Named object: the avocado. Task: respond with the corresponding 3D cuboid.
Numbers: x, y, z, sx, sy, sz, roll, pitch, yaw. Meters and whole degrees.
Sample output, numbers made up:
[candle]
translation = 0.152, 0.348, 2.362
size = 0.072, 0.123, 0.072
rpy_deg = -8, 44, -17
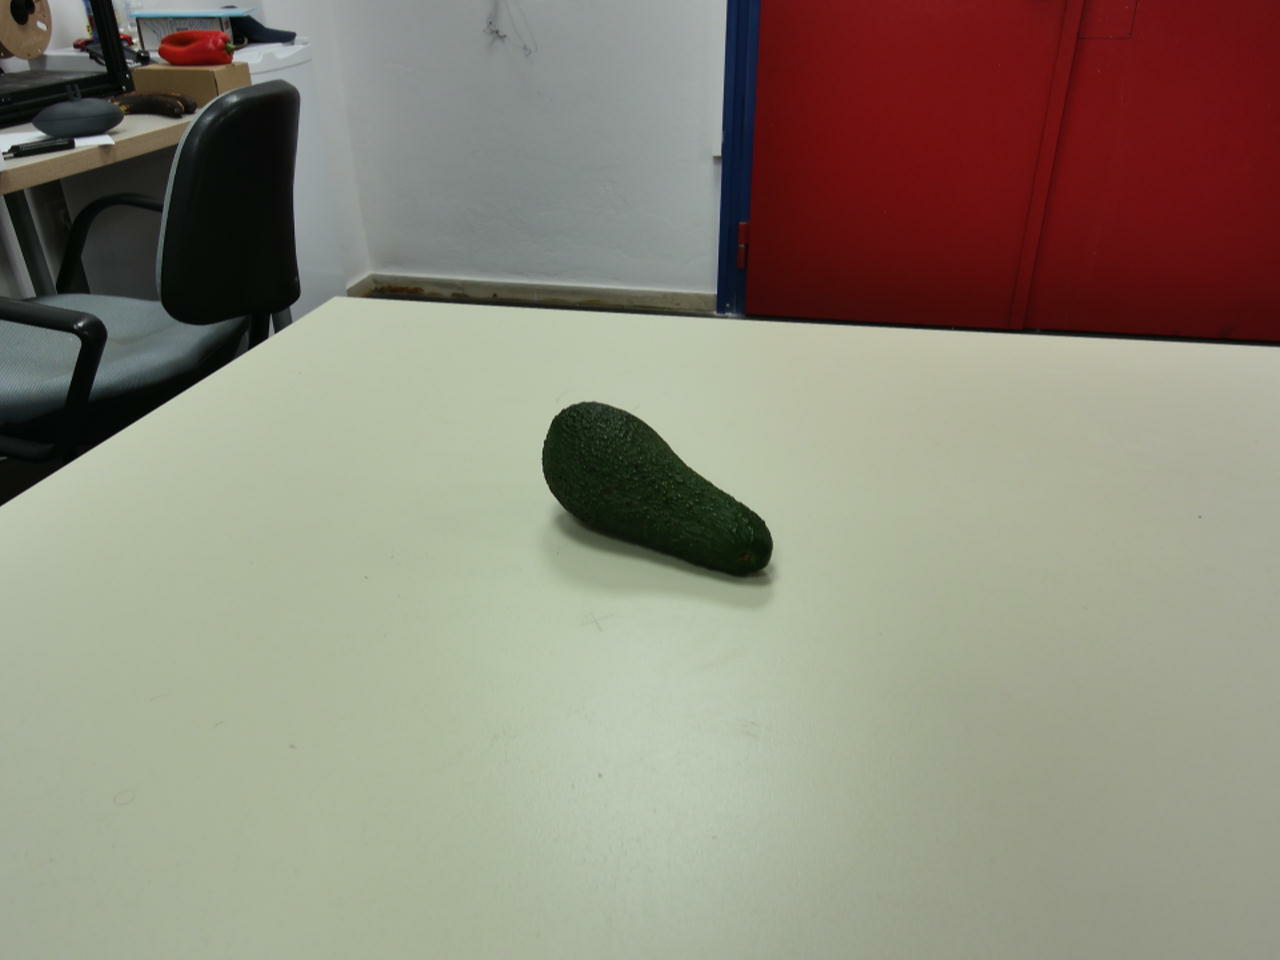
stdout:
[avocado]
translation = 0.010, 0.000, 0.513
size = 0.141, 0.067, 0.063
rpy_deg = 13, 28, 25
